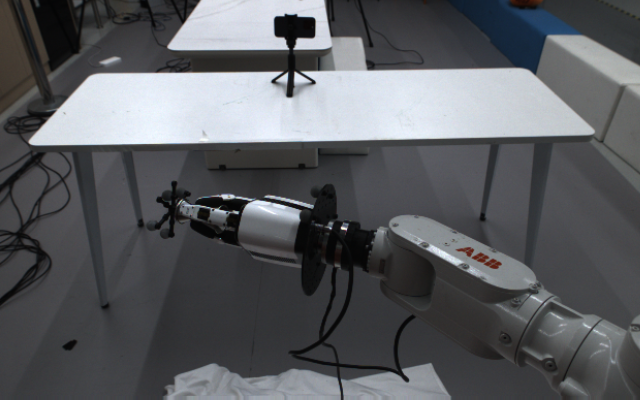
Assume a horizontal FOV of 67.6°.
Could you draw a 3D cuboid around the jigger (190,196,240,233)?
[{"bbox_3d":[-0.170,0.019,0.722,0.071,0.043,0.043,10,35,16],"label":"jigger"}]
